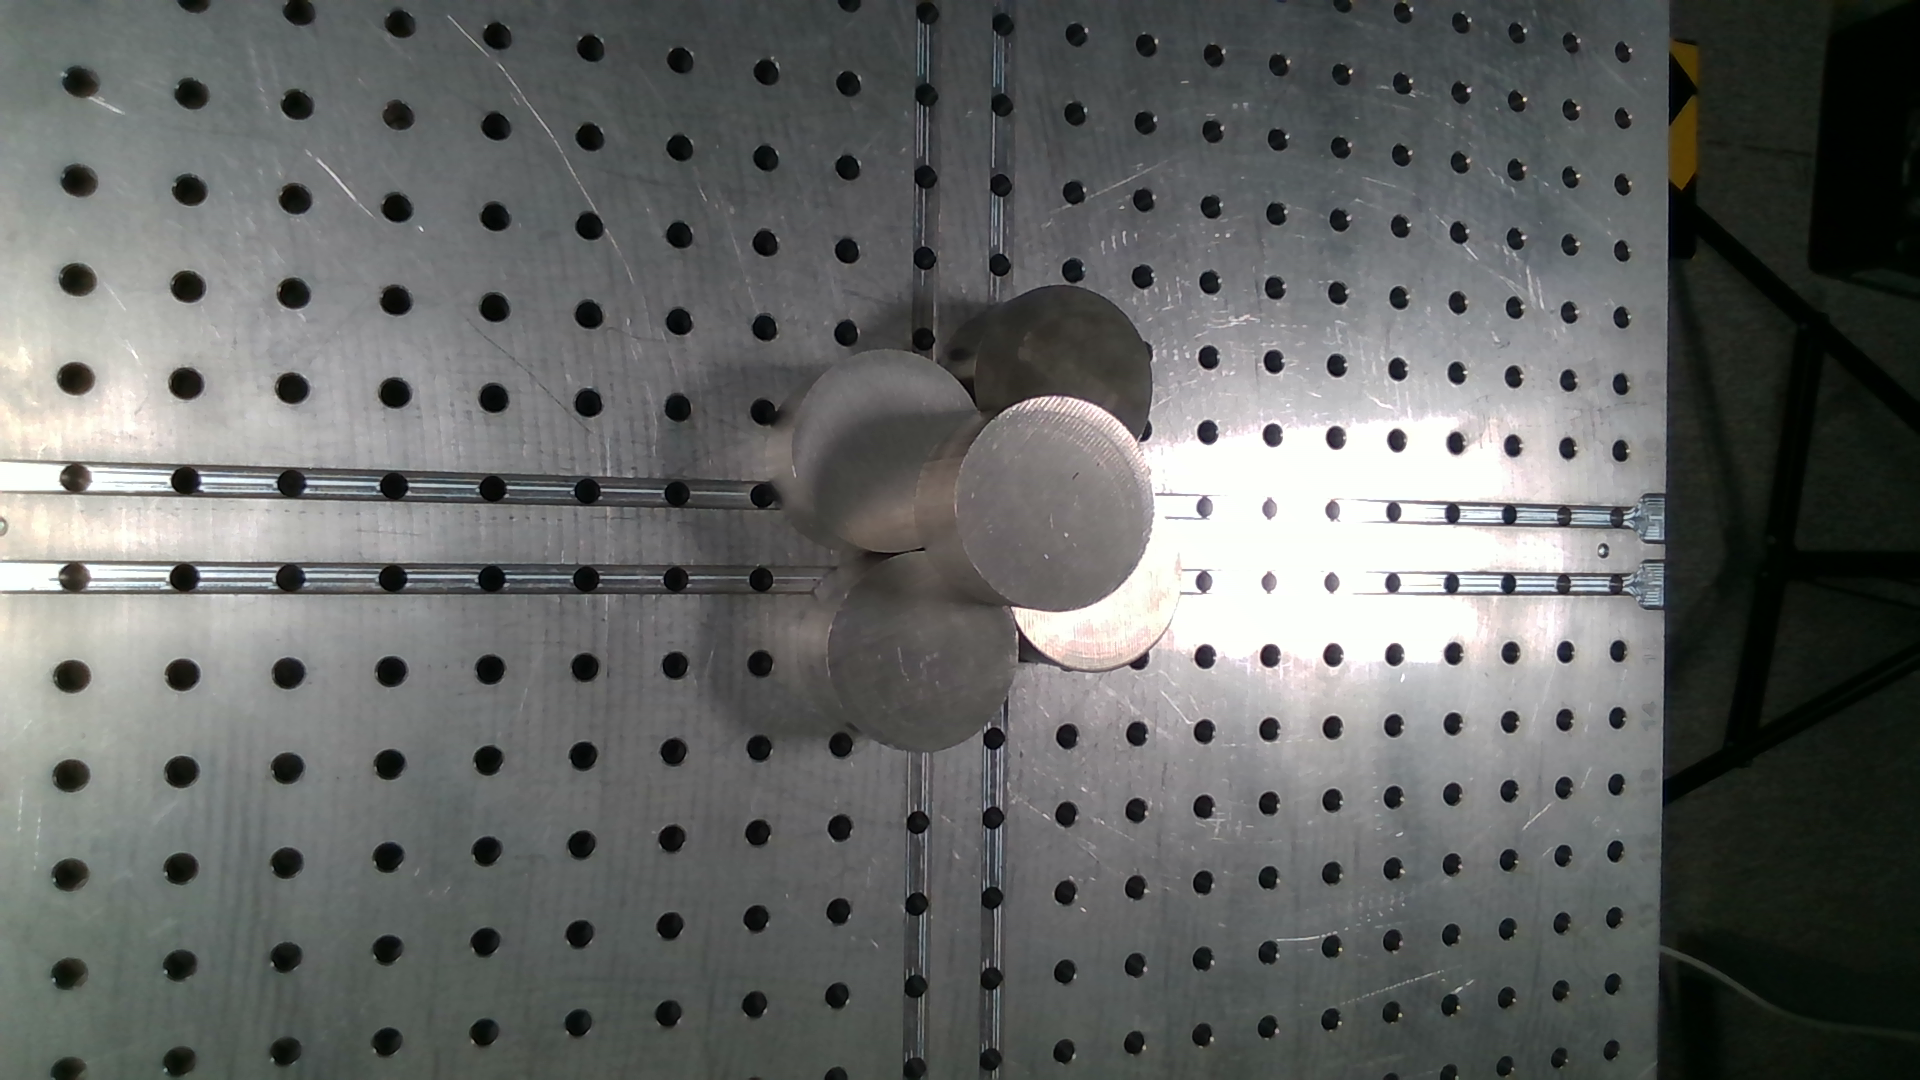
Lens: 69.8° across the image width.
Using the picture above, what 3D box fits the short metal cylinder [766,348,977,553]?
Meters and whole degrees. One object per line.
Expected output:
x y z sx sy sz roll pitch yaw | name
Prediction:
-0.035 -0.035 0.561 0.080 0.050 0.080 0 90 -20 | short metal cylinder

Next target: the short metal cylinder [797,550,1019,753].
-0.022 0.044 0.566 0.080 0.050 0.080 0 90 -20 | short metal cylinder

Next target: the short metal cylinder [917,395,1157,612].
0.028 -0.014 0.530 0.080 0.050 0.080 0 91 -19 | short metal cylinder

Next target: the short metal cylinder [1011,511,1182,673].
0.048 0.015 0.592 0.080 0.050 0.080 0 90 -20 | short metal cylinder

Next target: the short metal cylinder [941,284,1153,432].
0.035 -0.065 0.587 0.080 0.050 0.080 0 90 -20 | short metal cylinder
